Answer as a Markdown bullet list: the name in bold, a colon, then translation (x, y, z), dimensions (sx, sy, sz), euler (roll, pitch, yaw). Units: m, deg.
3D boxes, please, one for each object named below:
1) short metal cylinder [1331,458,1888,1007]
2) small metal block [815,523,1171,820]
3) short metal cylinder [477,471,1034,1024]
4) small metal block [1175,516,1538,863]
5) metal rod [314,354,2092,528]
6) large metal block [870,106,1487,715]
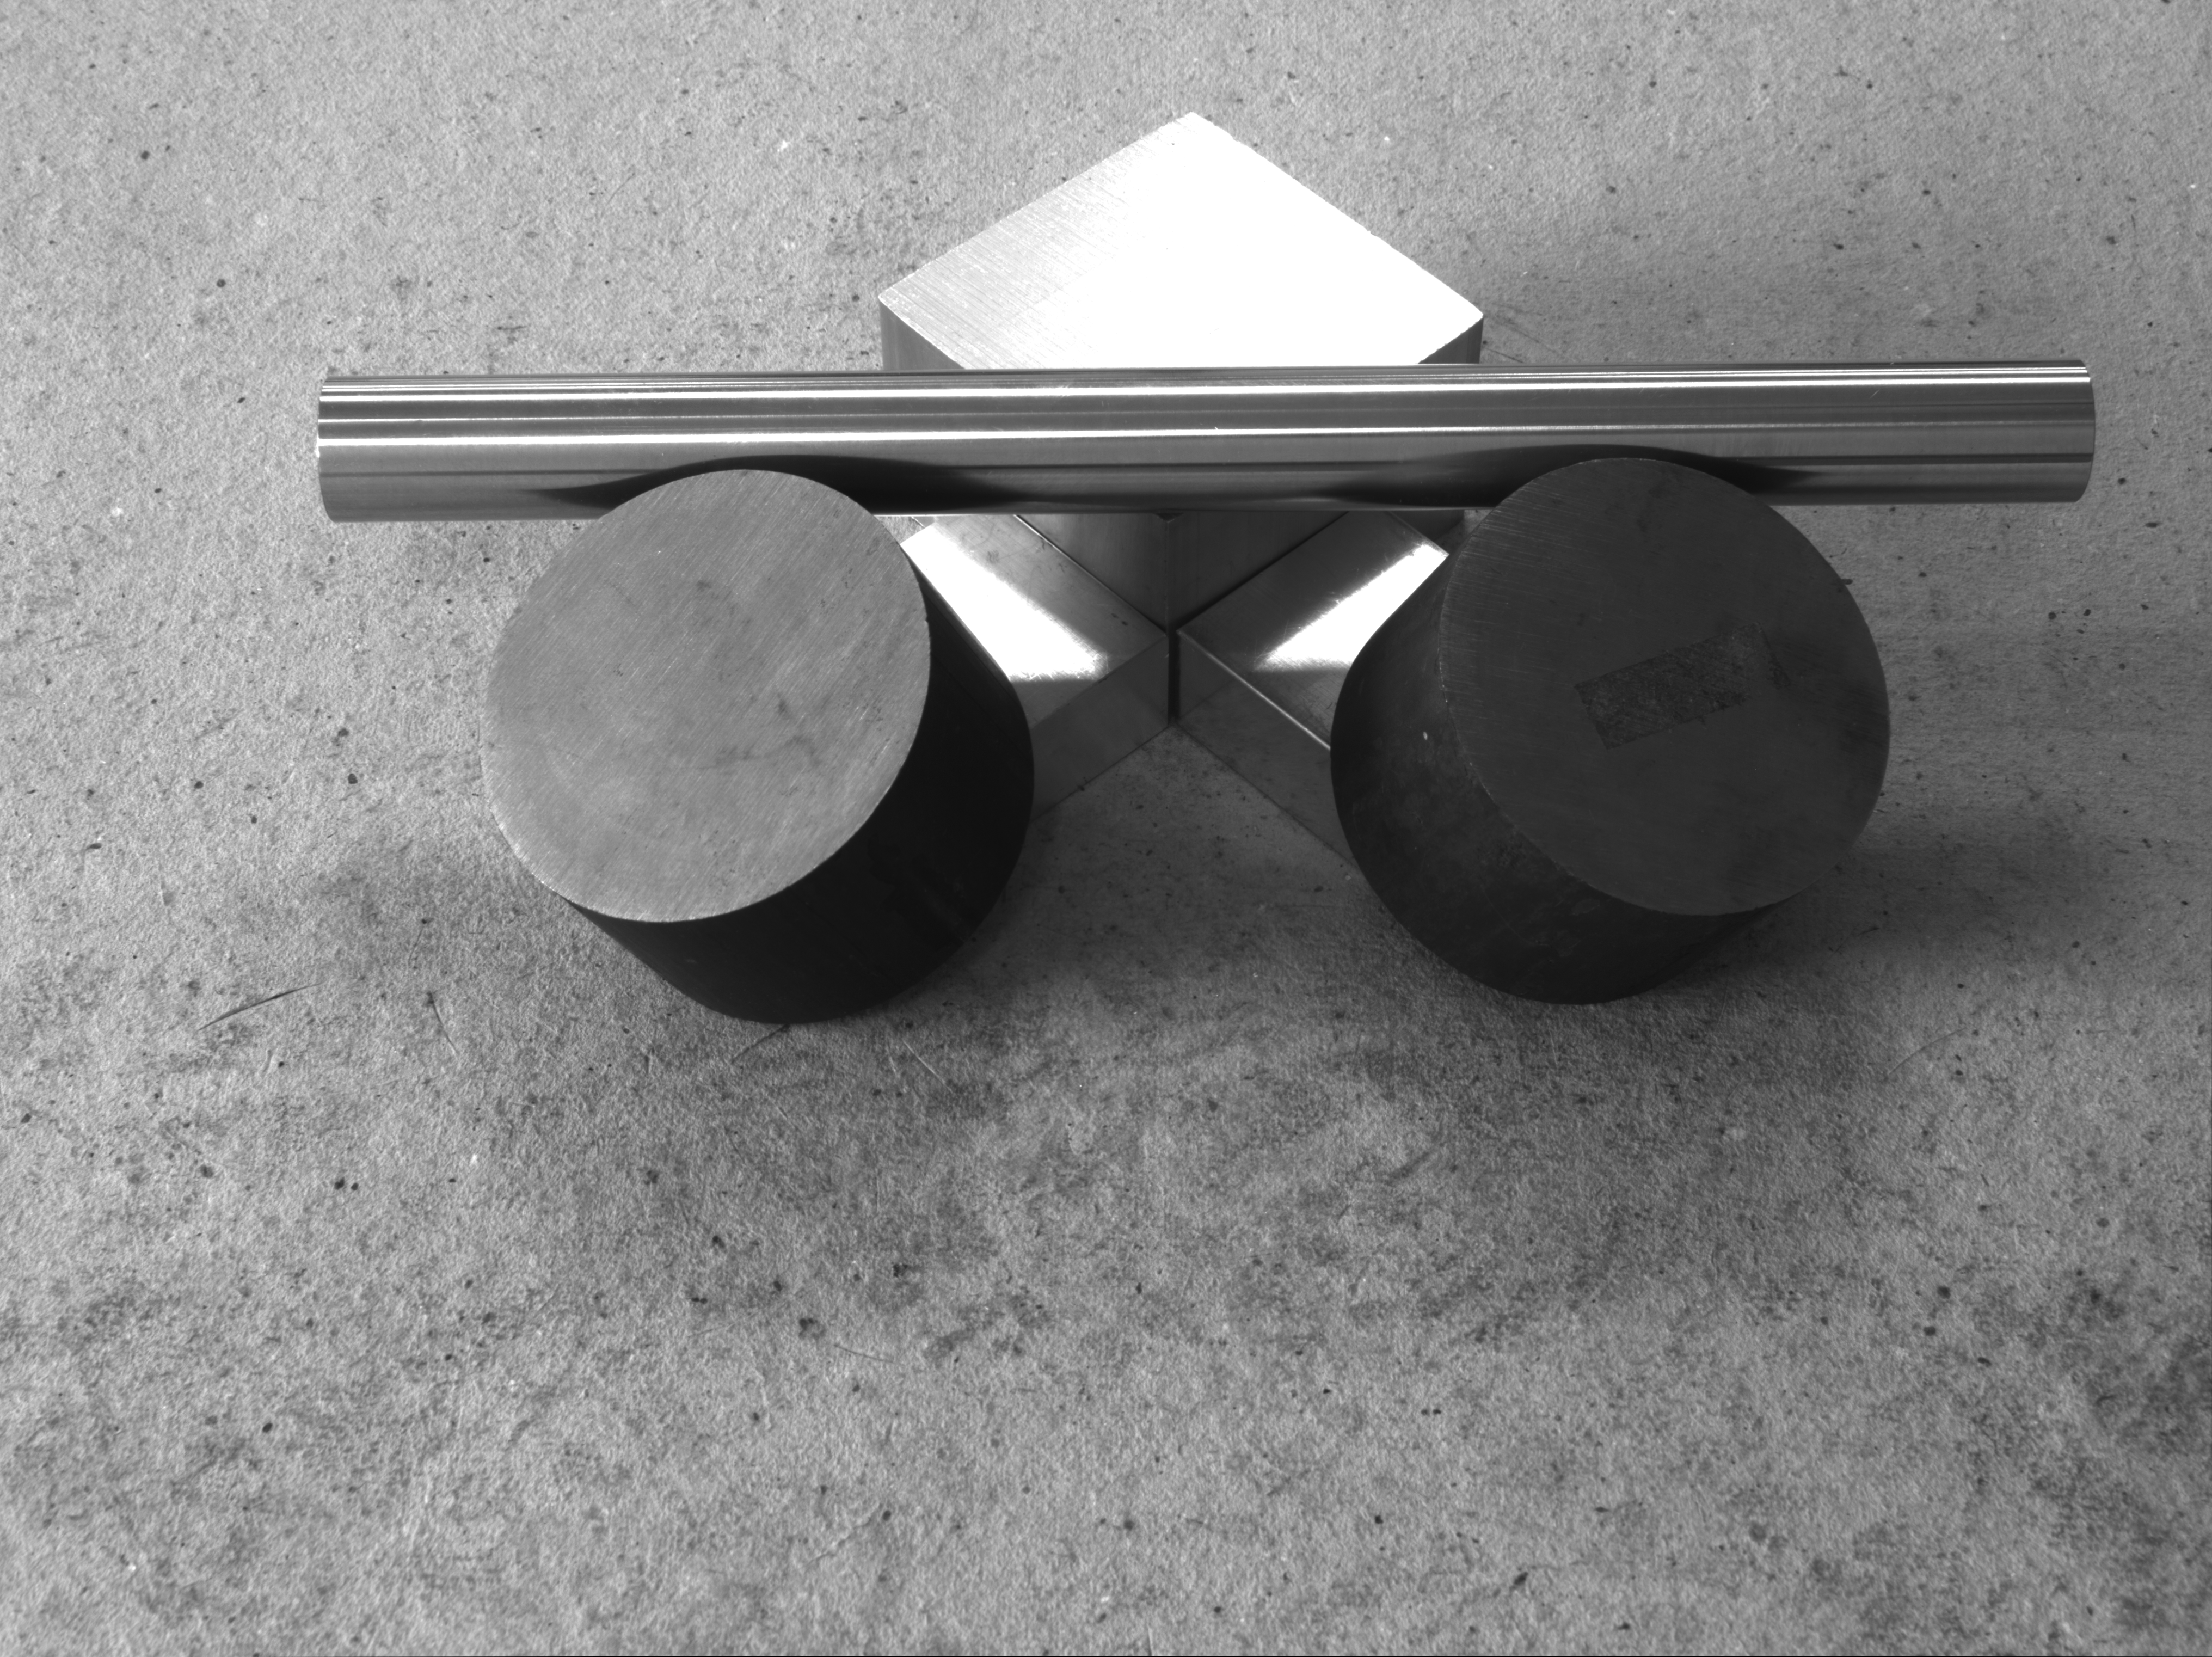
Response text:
- **short metal cylinder**: translation (0.084, -0.016, 0.621), dimensions (0.080, 0.050, 0.080), euler (7, 68, -16)
- **small metal block**: translation (-0.024, -0.028, 0.667), dimensions (0.050, 0.025, 0.050), euler (-35, 58, -27)
- **short metal cylinder**: translation (-0.058, -0.013, 0.619), dimensions (0.080, 0.050, 0.080), euler (-7, 66, 17)
- **small metal block**: translation (0.048, -0.027, 0.665), dimensions (0.050, 0.025, 0.050), euler (-36, 58, -26)
- **metal rod**: translation (0.017, -0.067, 0.631), dimensions (0.300, 0.025, 0.025), euler (-1, 50, -1)
- **large metal block**: translation (0.013, -0.080, 0.692), dimensions (0.080, 0.050, 0.080), euler (-35, 58, -25)
